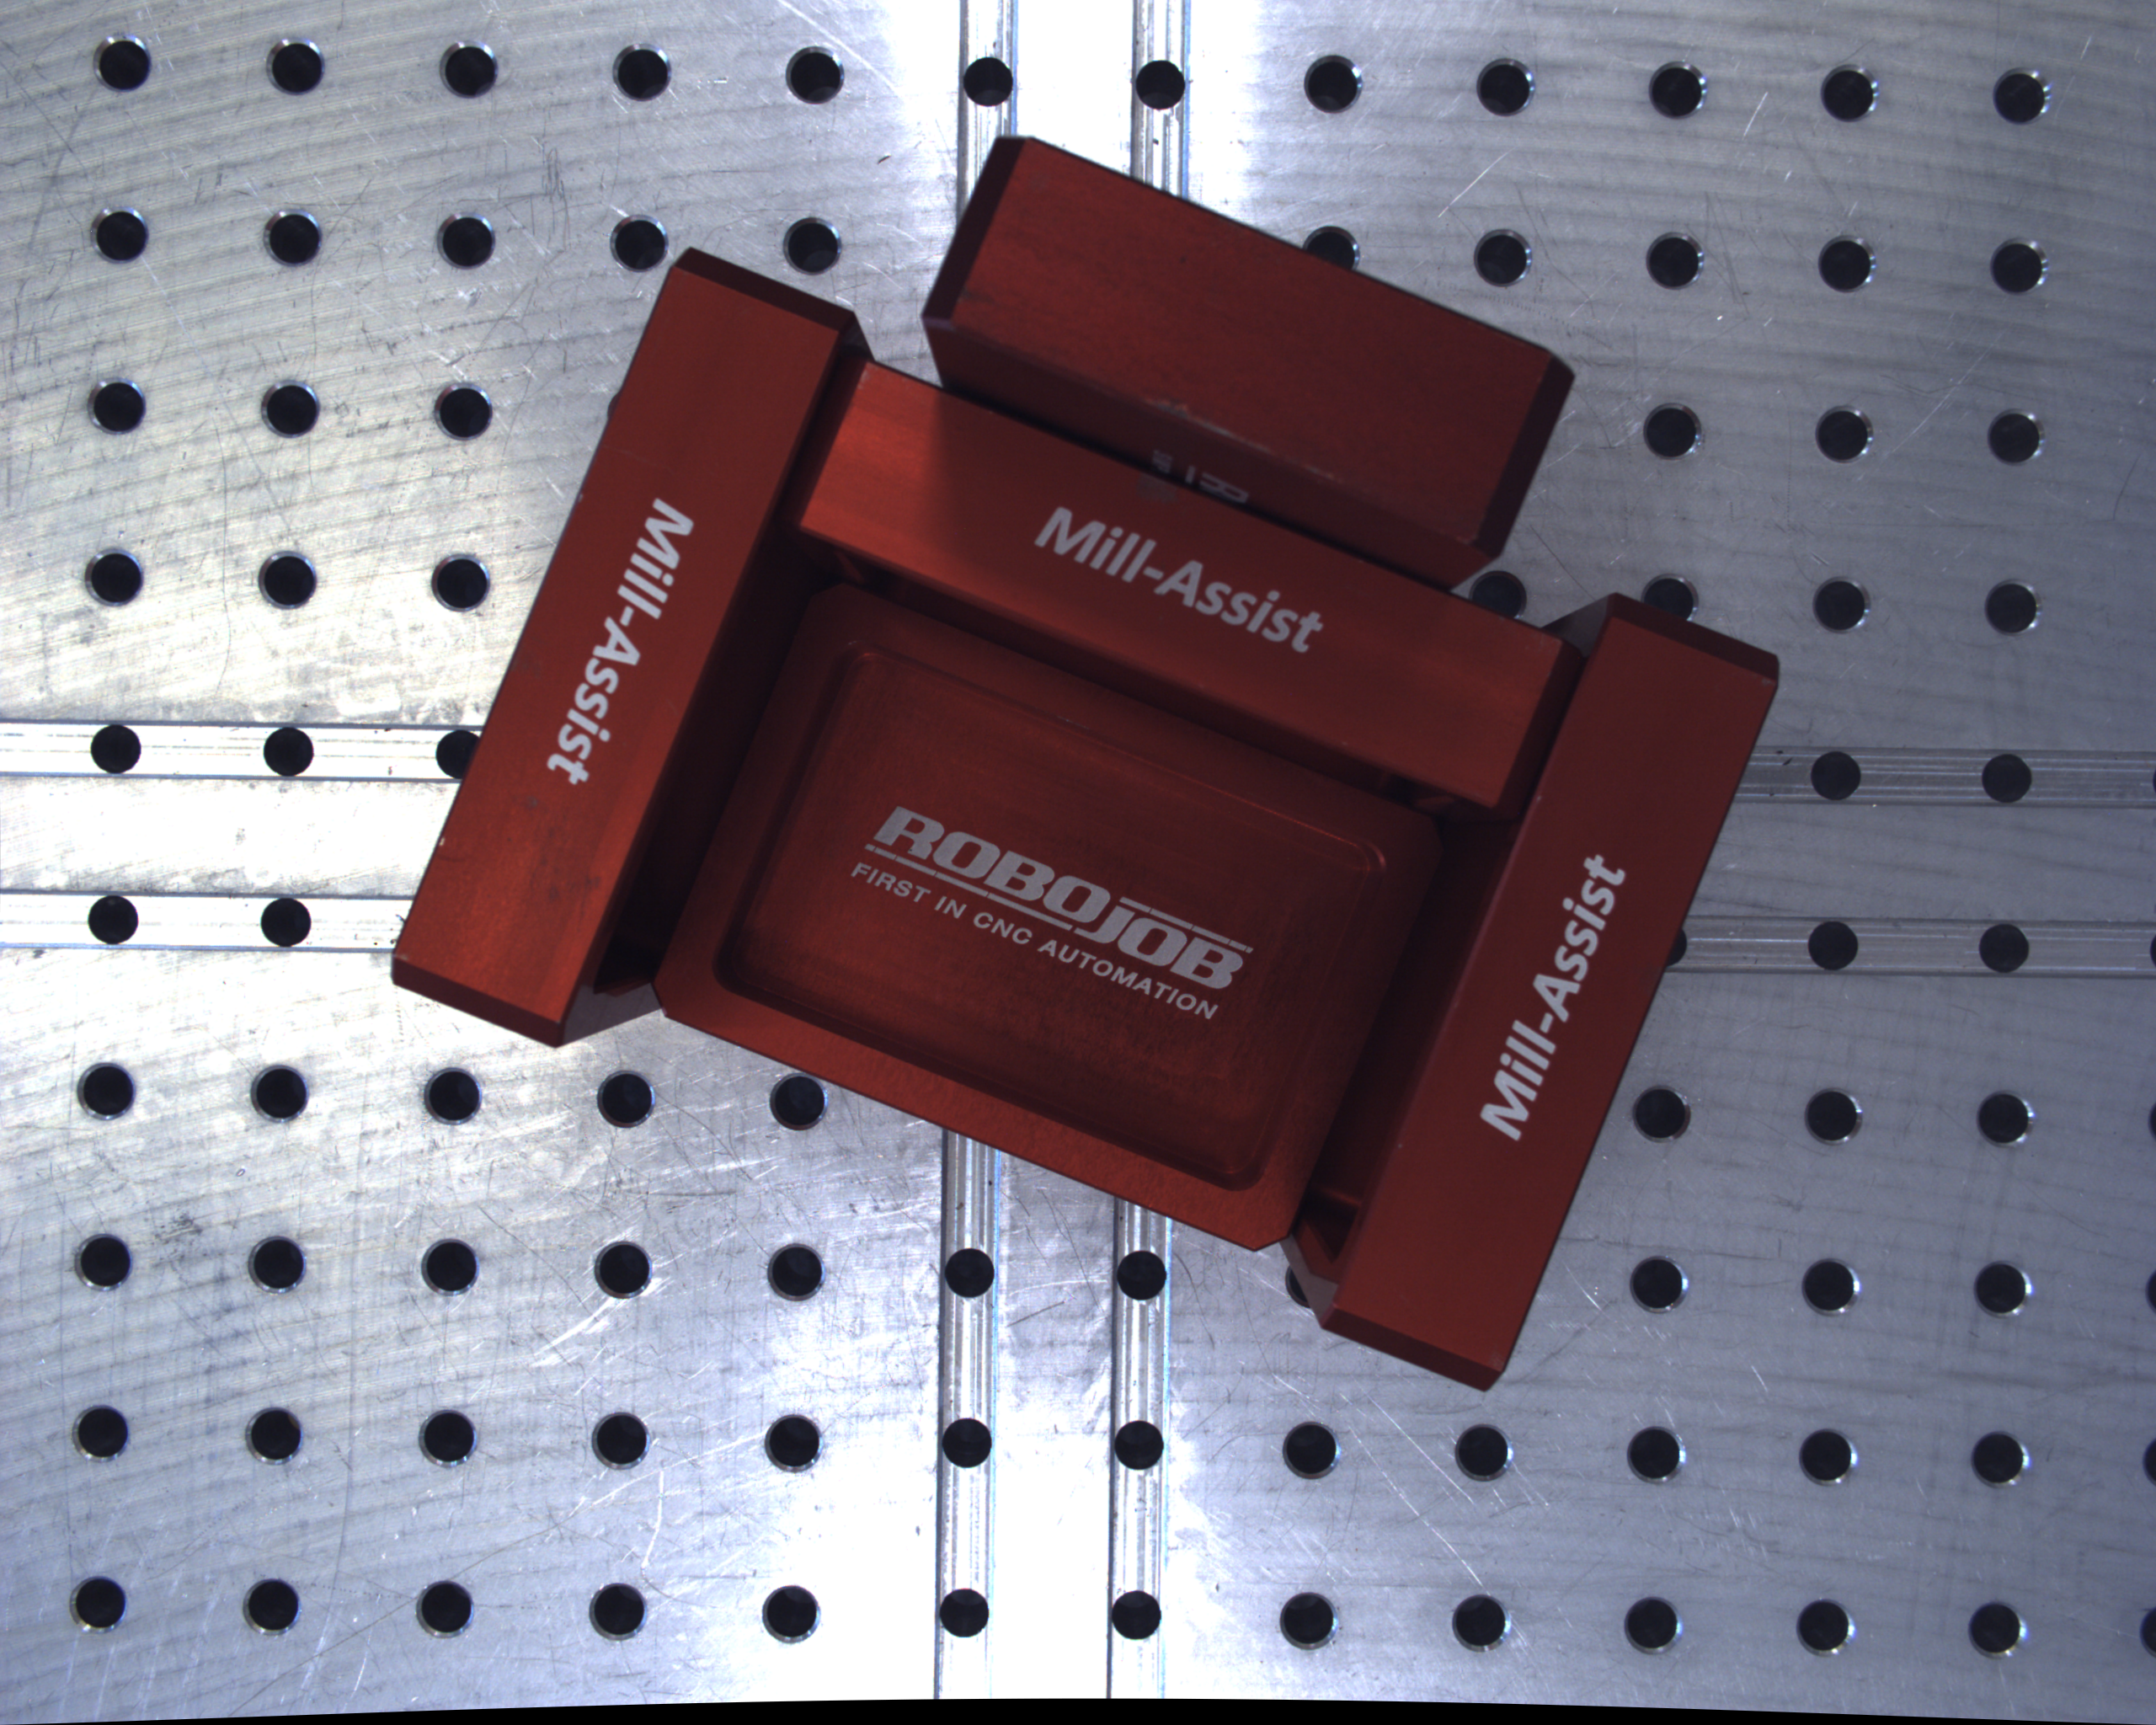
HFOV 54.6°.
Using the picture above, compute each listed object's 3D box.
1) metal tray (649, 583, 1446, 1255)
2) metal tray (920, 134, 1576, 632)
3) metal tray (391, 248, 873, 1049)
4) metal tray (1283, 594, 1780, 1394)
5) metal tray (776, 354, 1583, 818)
[{"bbox_3d":[-0.006,0.011,0.410,0.131,0.030,0.090,22,90,-1],"label":"metal tray"},{"bbox_3d":[0.025,-0.075,0.360,0.090,0.130,0.030,22,91,0],"label":"metal tray"},{"bbox_3d":[-0.074,-0.035,0.380,0.030,0.090,0.130,22,90,0],"label":"metal tray"},{"bbox_3d":[0.077,0.021,0.381,0.030,0.090,0.129,22,90,0],"label":"metal tray"},{"bbox_3d":[0.017,-0.046,0.381,0.131,0.090,0.030,22,91,-1],"label":"metal tray"}]
